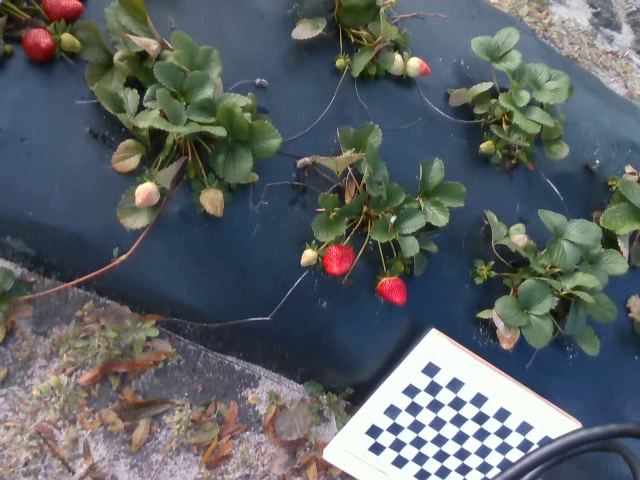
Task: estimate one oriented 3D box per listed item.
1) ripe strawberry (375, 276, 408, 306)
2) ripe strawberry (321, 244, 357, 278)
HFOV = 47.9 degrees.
[{"bbox_3d":[0.079,0.059,0.741,0.037,0.039,0.033,-37,-52,25],"label":"ripe strawberry"},{"bbox_3d":[0.020,0.025,0.723,0.035,0.036,0.041,21,-45,-4],"label":"ripe strawberry"}]
